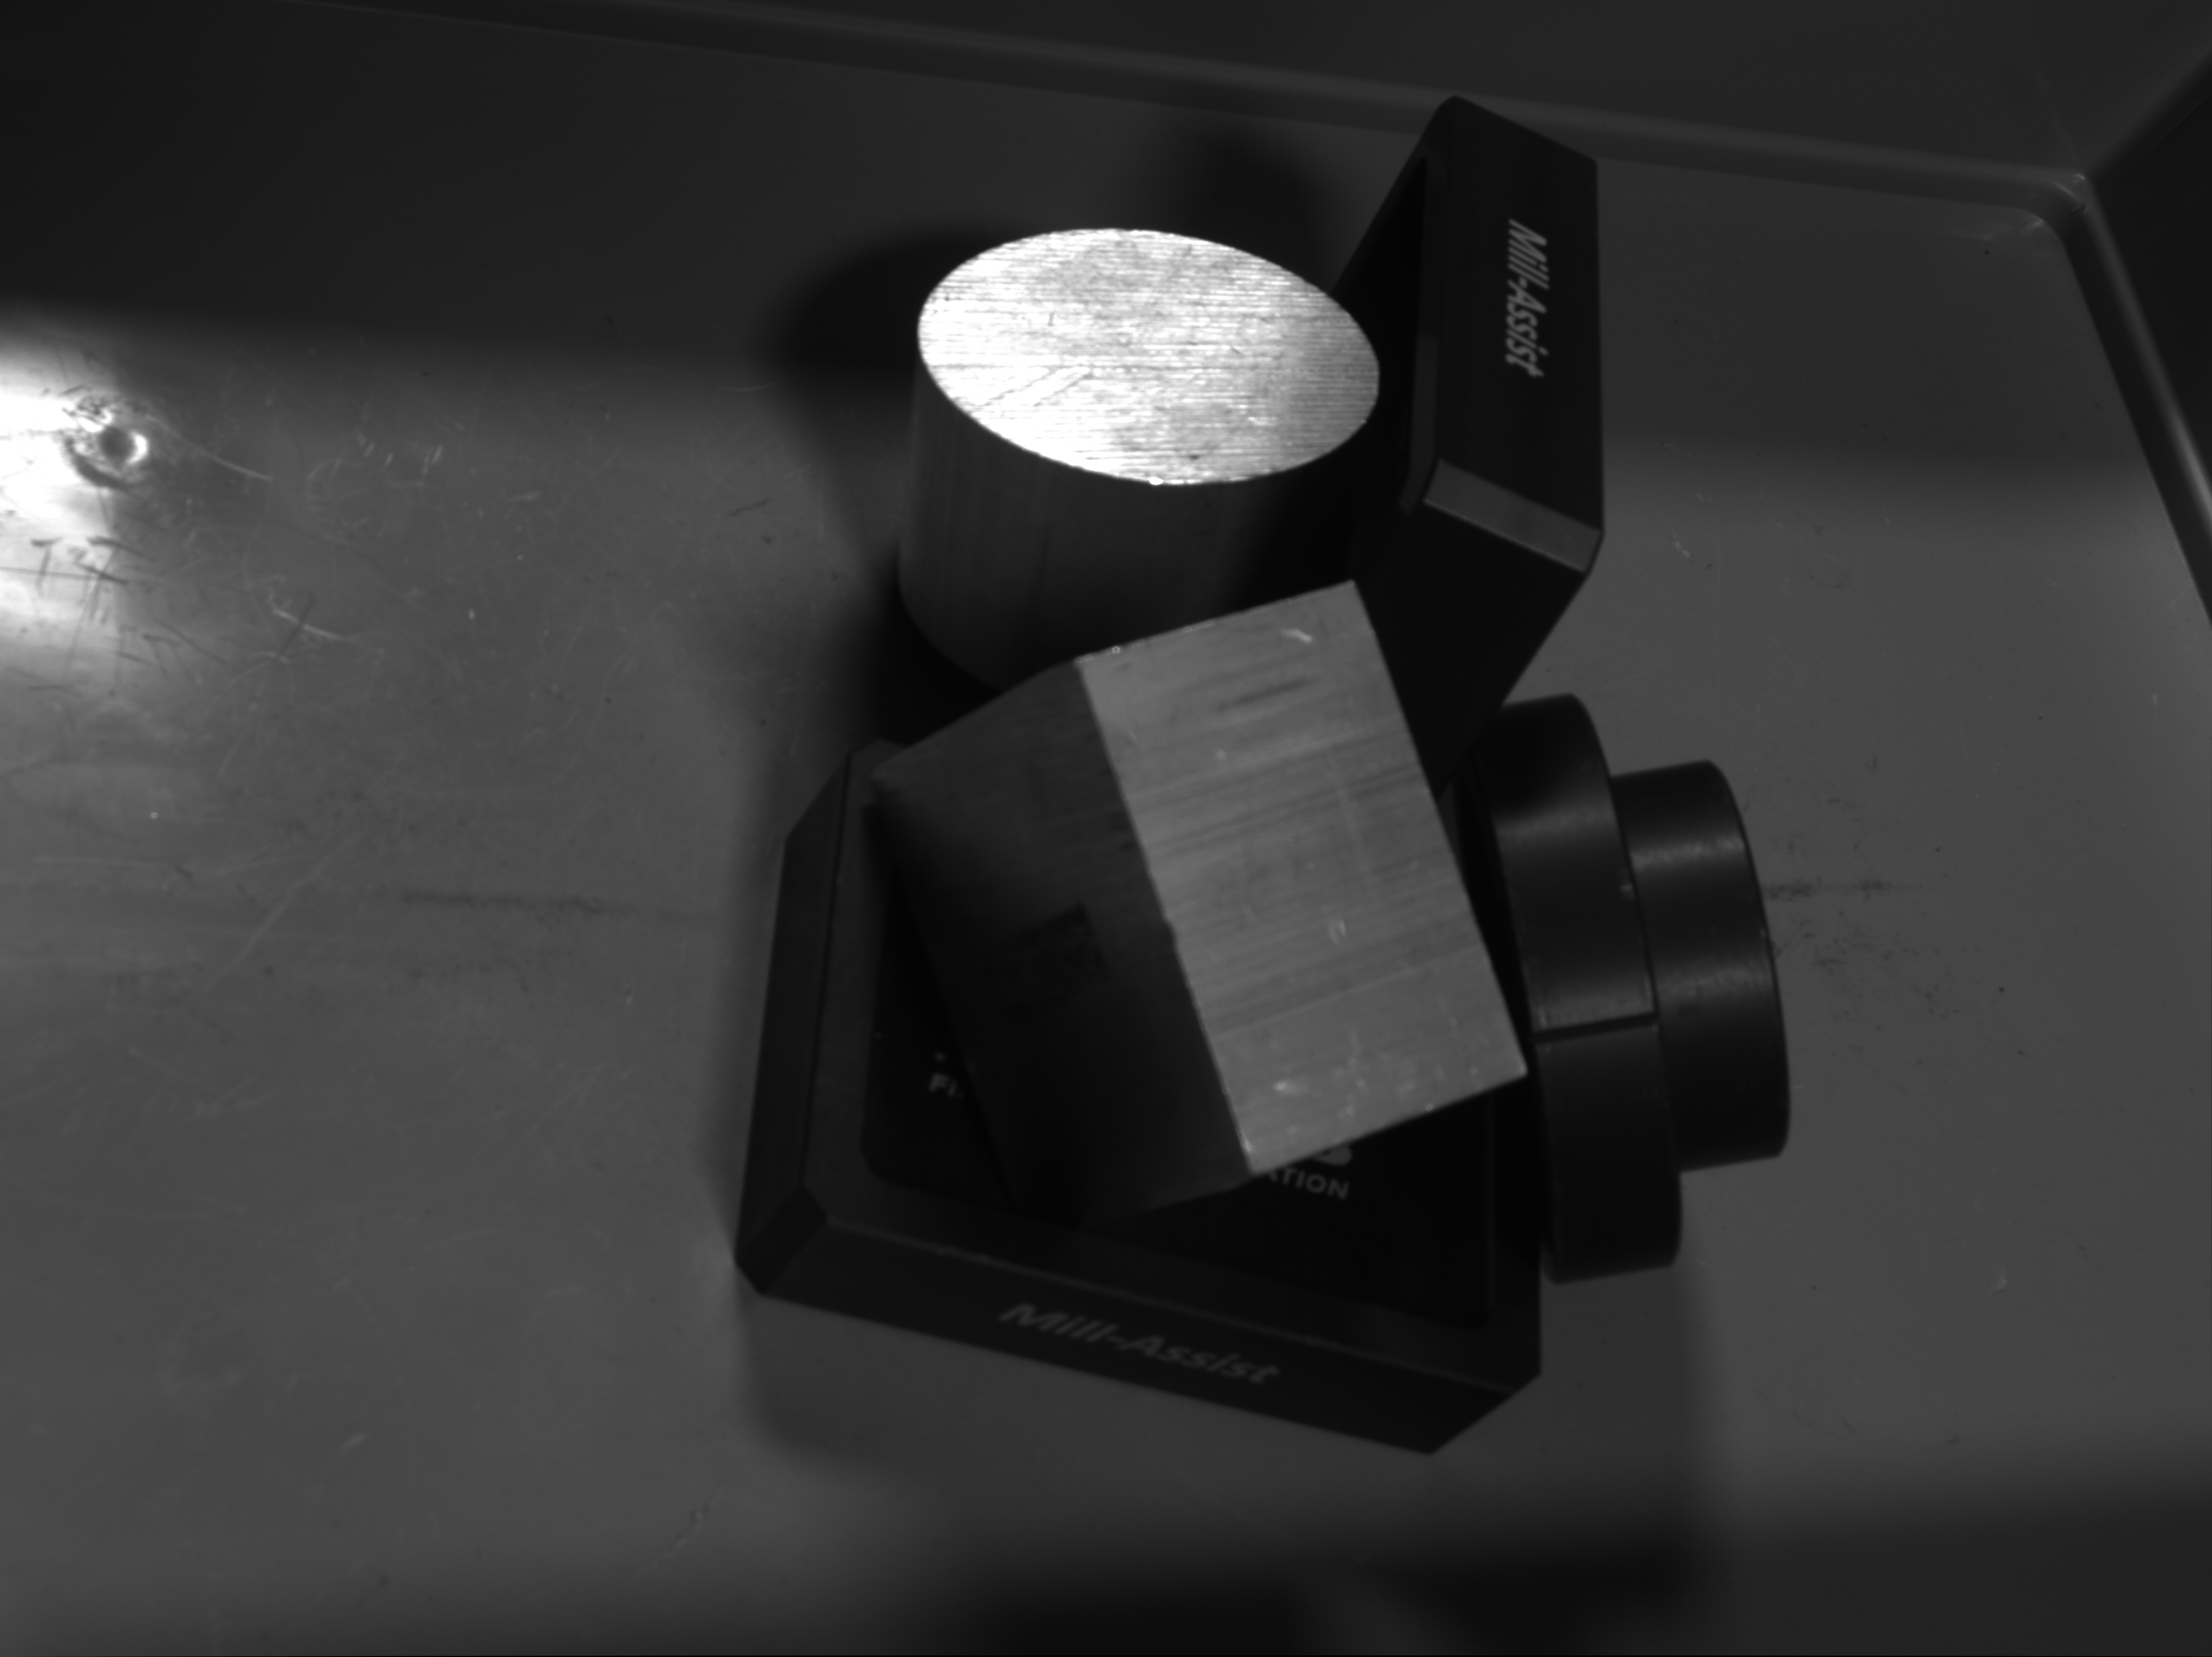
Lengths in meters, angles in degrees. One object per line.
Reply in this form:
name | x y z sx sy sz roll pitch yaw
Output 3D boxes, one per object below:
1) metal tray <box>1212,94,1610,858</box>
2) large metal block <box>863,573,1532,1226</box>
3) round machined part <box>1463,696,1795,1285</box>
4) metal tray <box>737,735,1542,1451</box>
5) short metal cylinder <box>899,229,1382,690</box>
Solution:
metal tray | 0.052 -0.058 0.640 0.030 0.090 0.130 22 38 -11
large metal block | 0.012 0.014 0.571 0.050 0.080 0.080 -18 87 -28
round machined part | 0.088 0.025 0.619 0.042 0.098 0.098 -9 62 2
metal tray | 0.009 0.045 0.611 0.130 0.030 0.090 16 55 -19
short metal cylinder | 0.005 -0.063 0.644 0.080 0.050 0.080 5 39 -4
